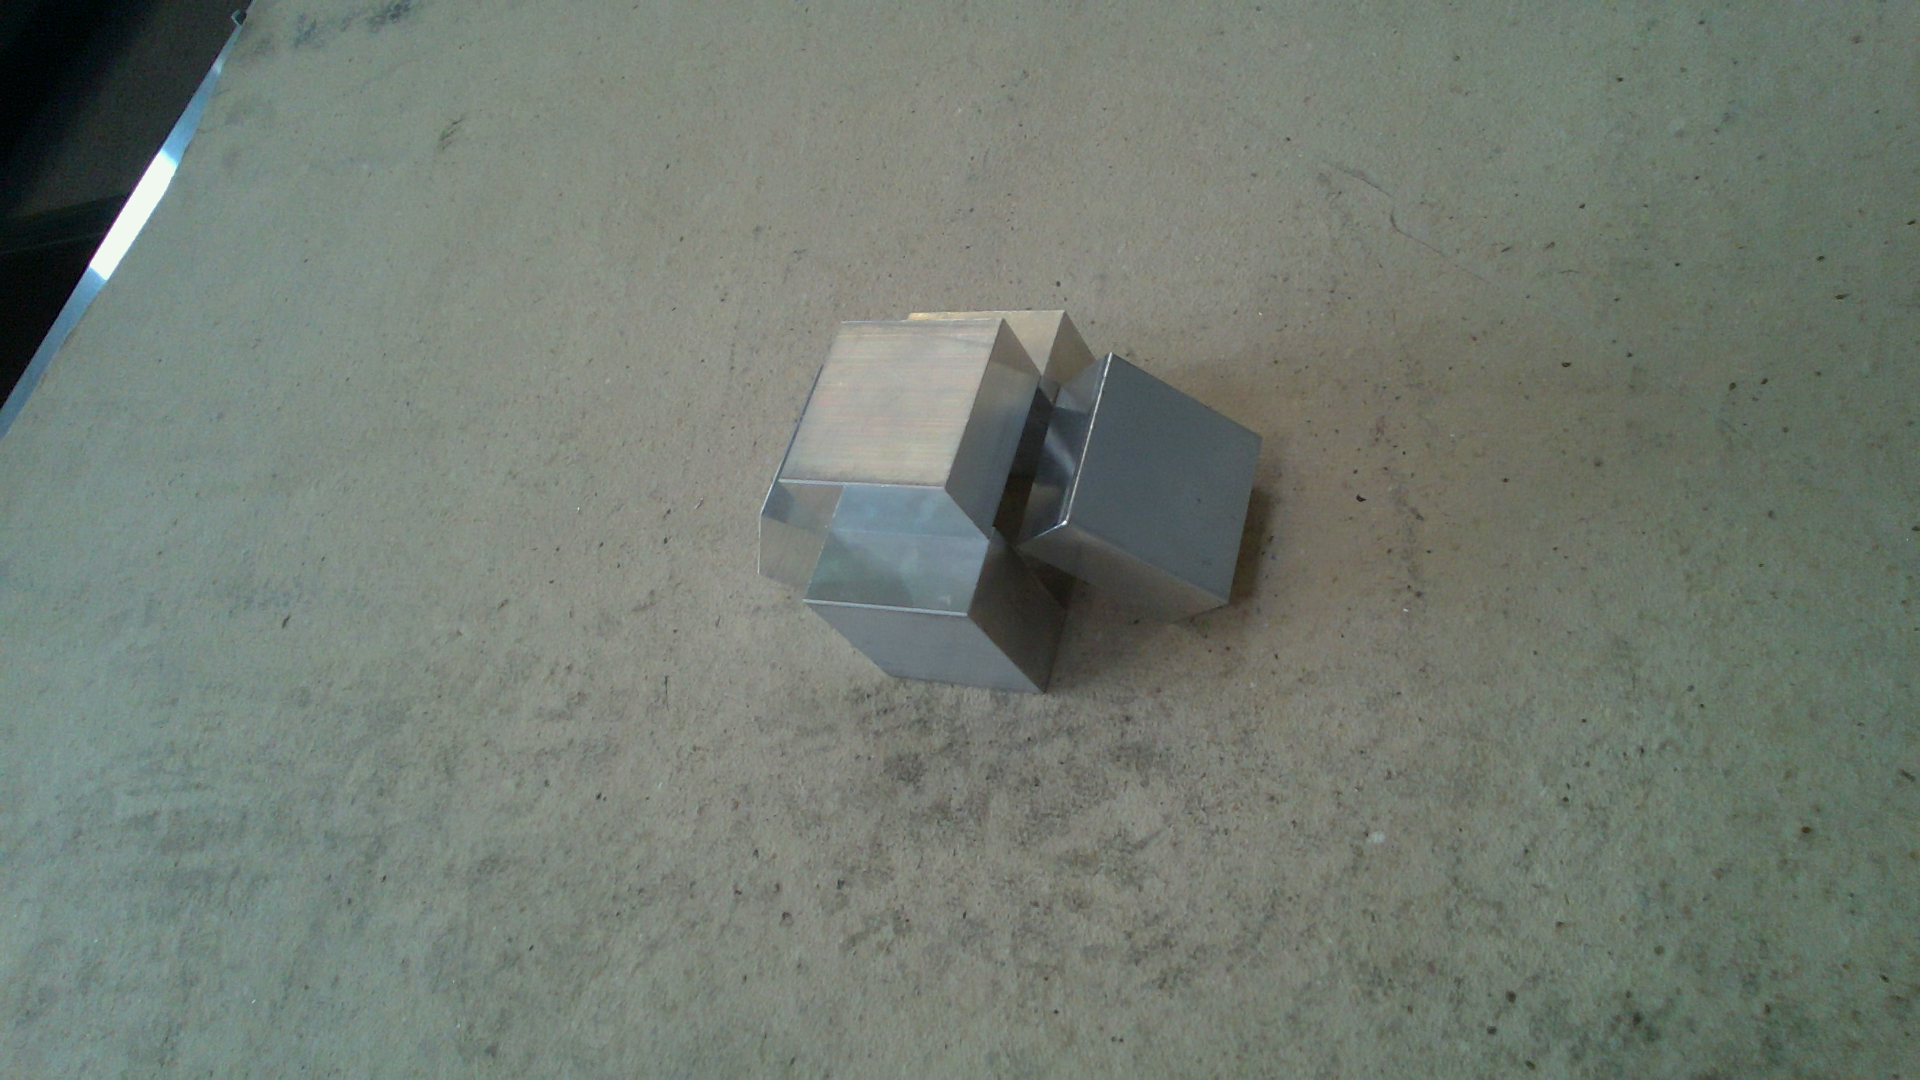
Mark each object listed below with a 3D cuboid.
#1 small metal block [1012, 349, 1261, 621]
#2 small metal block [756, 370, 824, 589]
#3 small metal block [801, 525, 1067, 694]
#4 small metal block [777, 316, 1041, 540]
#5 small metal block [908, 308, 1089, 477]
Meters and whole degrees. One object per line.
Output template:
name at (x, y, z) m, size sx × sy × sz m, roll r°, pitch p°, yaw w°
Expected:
small metal block at (0.047, -0.013, 0.358) m, size 0.025 × 0.050 × 0.050 m, roll -28°, pitch 41°, yaw 58°
small metal block at (-0.039, -0.016, 0.407) m, size 0.025 × 0.050 × 0.050 m, roll 19°, pitch 68°, yaw -2°
small metal block at (-0.006, 0.018, 0.371) m, size 0.050 × 0.050 × 0.025 m, roll 3°, pitch 63°, yaw 30°
small metal block at (-0.013, -0.029, 0.355) m, size 0.050 × 0.025 × 0.050 m, roll 4°, pitch 64°, yaw 30°
small metal block at (0.014, -0.041, 0.396) m, size 0.050 × 0.050 × 0.025 m, roll 5°, pitch 64°, yaw 31°
